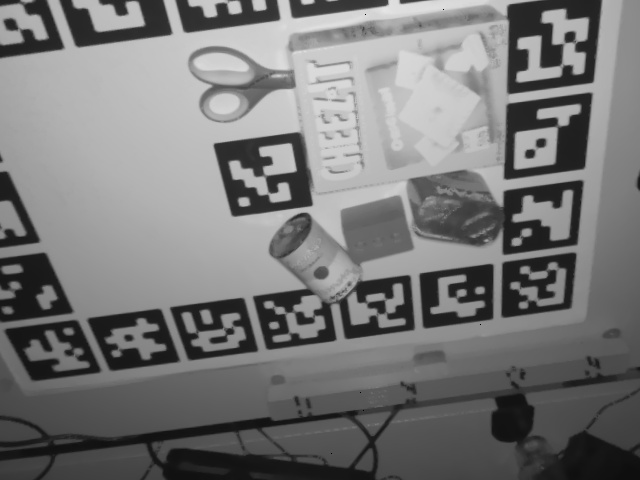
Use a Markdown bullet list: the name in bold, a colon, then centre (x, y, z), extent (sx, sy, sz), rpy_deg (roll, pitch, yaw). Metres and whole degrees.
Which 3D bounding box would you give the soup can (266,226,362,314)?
- **soup can**: centre (-0.006, 0.038, 0.850), extent (0.067, 0.068, 0.102), rpy_deg (-41, 121, 20)

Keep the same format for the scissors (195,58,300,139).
- **scissors**: centre (-0.025, -0.162, 0.732), extent (0.203, 0.016, 0.087), rpy_deg (-11, 121, 3)

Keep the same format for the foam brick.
- **foam brick**: centre (0.072, 0.005, 0.836), extent (0.078, 0.052, 0.052), rpy_deg (-16, 121, 7)

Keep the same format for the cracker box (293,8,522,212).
- **cracker box**: centre (0.095, -0.130, 0.723), extent (0.214, 0.072, 0.163), rpy_deg (-13, 123, 0)

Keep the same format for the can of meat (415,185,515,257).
- **can of meat**: centre (0.164, -0.023, 0.802), extent (0.102, 0.084, 0.057), rpy_deg (5, 121, -6)
